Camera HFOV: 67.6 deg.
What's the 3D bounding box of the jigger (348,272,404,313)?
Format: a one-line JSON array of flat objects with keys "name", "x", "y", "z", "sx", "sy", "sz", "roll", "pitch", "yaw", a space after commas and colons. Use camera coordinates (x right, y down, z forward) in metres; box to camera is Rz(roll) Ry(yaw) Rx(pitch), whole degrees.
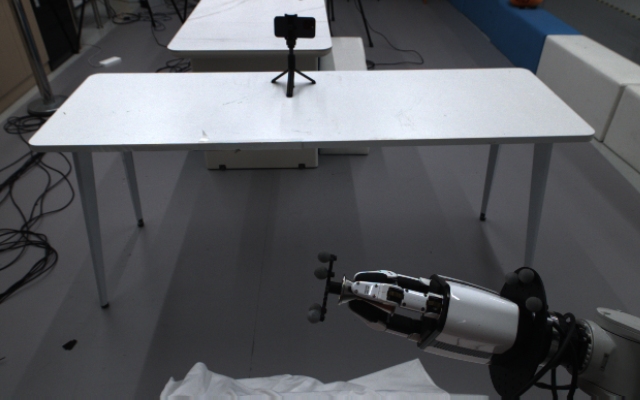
[{"name": "jigger", "x": 0.066, "y": 0.115, "z": 0.605, "sx": 0.071, "sy": 0.043, "sz": 0.043, "roll": 10, "pitch": 35, "yaw": 2}]
